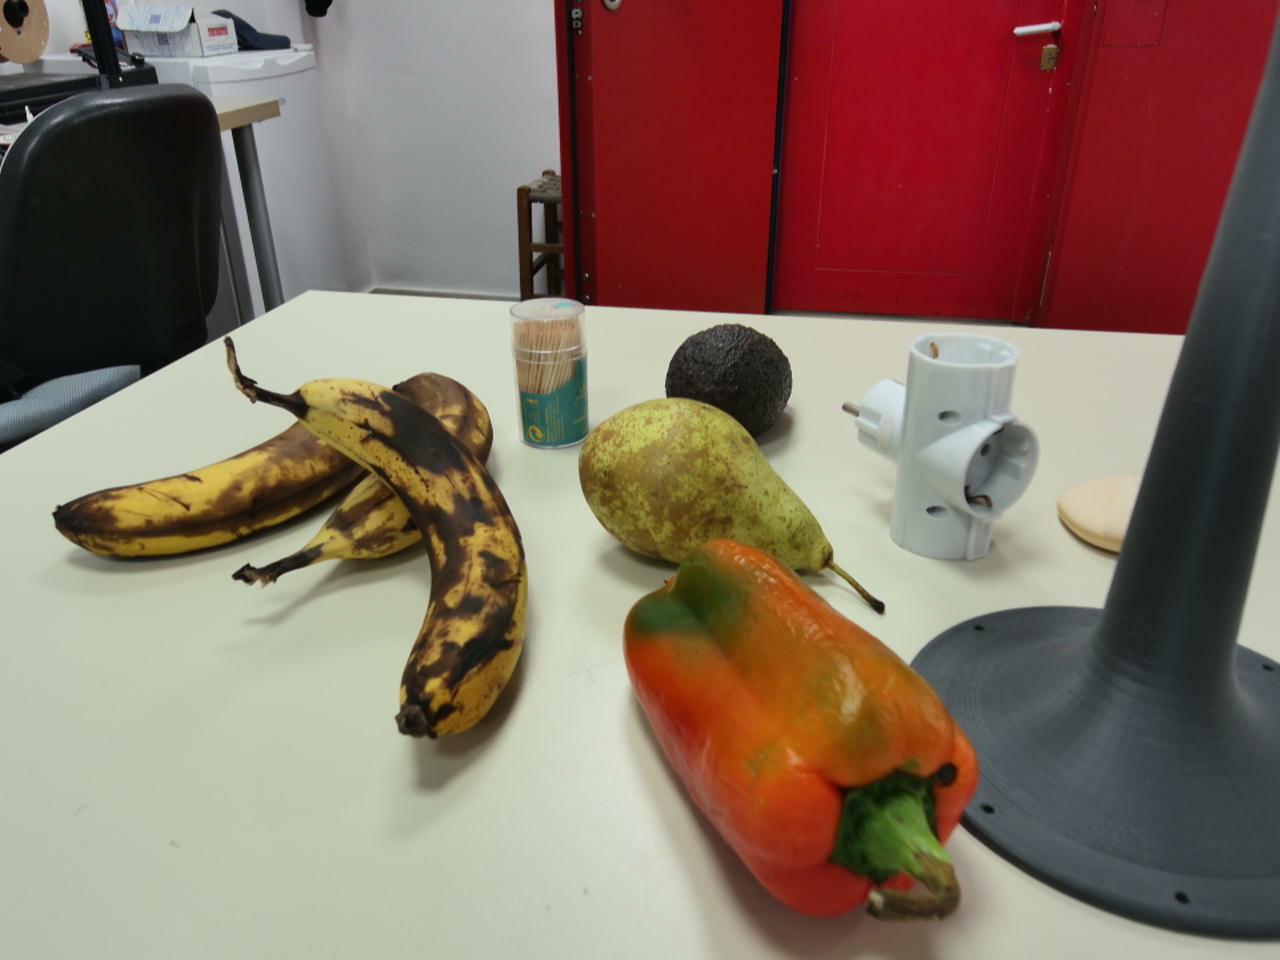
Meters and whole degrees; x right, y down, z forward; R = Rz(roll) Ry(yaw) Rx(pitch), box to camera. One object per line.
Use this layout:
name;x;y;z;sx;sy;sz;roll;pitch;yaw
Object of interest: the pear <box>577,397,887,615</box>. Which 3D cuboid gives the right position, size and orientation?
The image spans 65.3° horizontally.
pear;0.038;0.003;0.430;0.128;0.075;0.071;2;24;5
